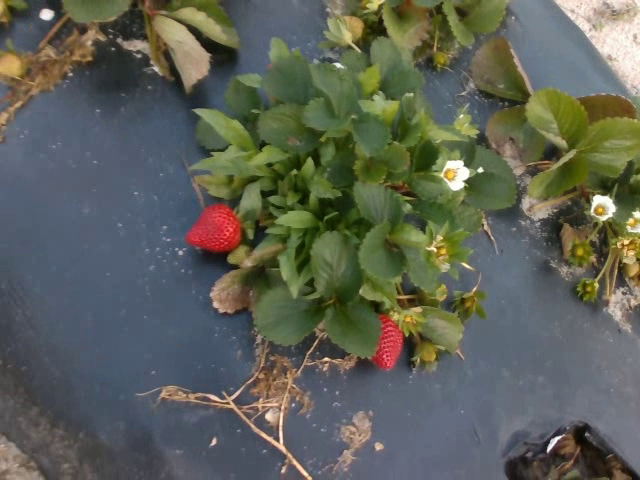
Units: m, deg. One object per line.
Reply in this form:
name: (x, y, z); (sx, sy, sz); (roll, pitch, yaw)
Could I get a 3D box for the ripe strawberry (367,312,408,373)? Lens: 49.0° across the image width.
ripe strawberry: (0.049, 0.084, 0.559); (0.043, 0.046, 0.047); (-15, -36, -1)

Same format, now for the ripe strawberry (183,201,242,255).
ripe strawberry: (-0.087, -0.007, 0.554); (0.050, 0.043, 0.042); (-27, -7, -28)
